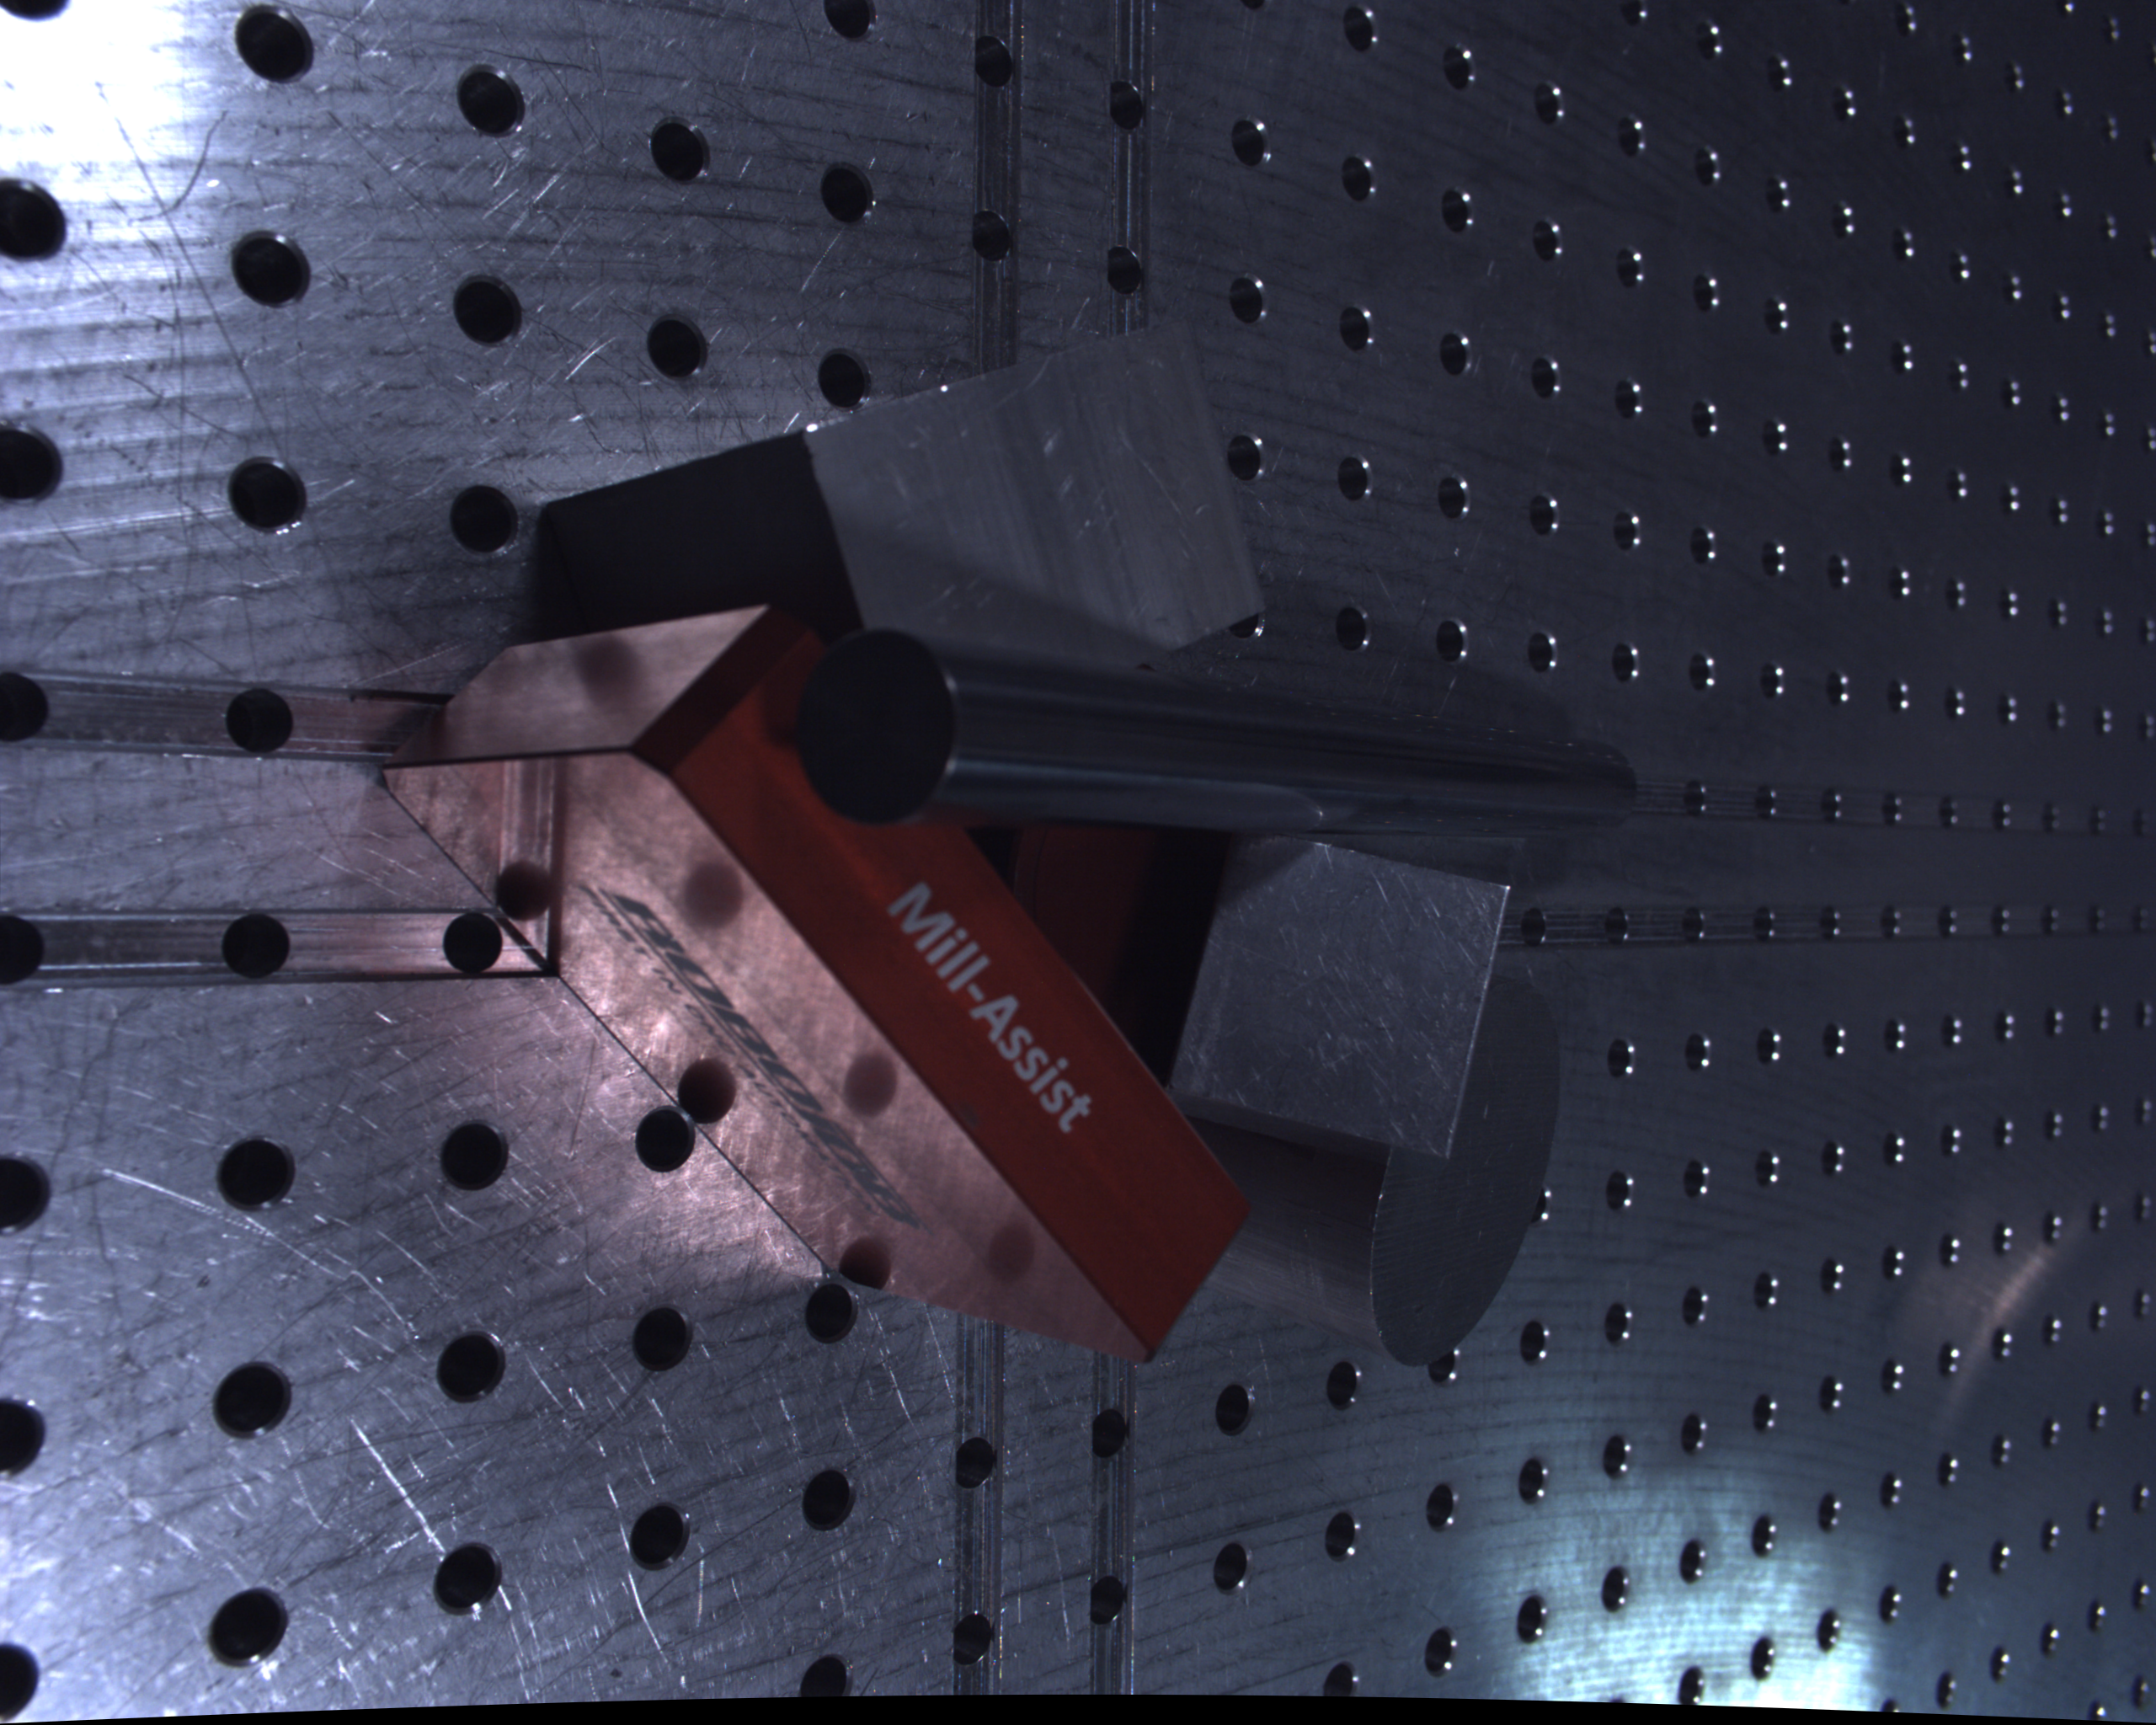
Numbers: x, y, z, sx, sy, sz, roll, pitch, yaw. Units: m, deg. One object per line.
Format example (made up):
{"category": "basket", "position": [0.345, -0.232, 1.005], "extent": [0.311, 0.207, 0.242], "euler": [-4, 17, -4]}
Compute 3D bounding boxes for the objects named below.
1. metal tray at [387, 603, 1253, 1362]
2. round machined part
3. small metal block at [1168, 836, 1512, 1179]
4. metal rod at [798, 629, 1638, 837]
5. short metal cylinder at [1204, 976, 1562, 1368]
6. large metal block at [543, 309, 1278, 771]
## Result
{"category": "metal tray", "position": [-0.041, 0.021, 0.333], "extent": [0.030, 0.090, 0.130], "euler": [-51, 121, -28]}
{"category": "round machined part", "position": [-0.001, 0.006, 0.403], "extent": [0.099, 0.042, 0.097], "euler": [0, 90, -40]}
{"category": "small metal block", "position": [0.047, 0.025, 0.378], "extent": [0.025, 0.050, 0.050], "euler": [74, 31, -73]}
{"category": "metal rod", "position": [0.051, -0.018, 0.392], "extent": [0.302, 0.025, 0.025], "euler": [-1, 91, -60]}
{"category": "short metal cylinder", "position": [0.059, 0.057, 0.429], "extent": [0.081, 0.050, 0.079], "euler": [-26, 123, -48]}
{"category": "large metal block", "position": [-0.028, -0.052, 0.349], "extent": [0.081, 0.080, 0.050], "euler": [-27, 107, -37]}
